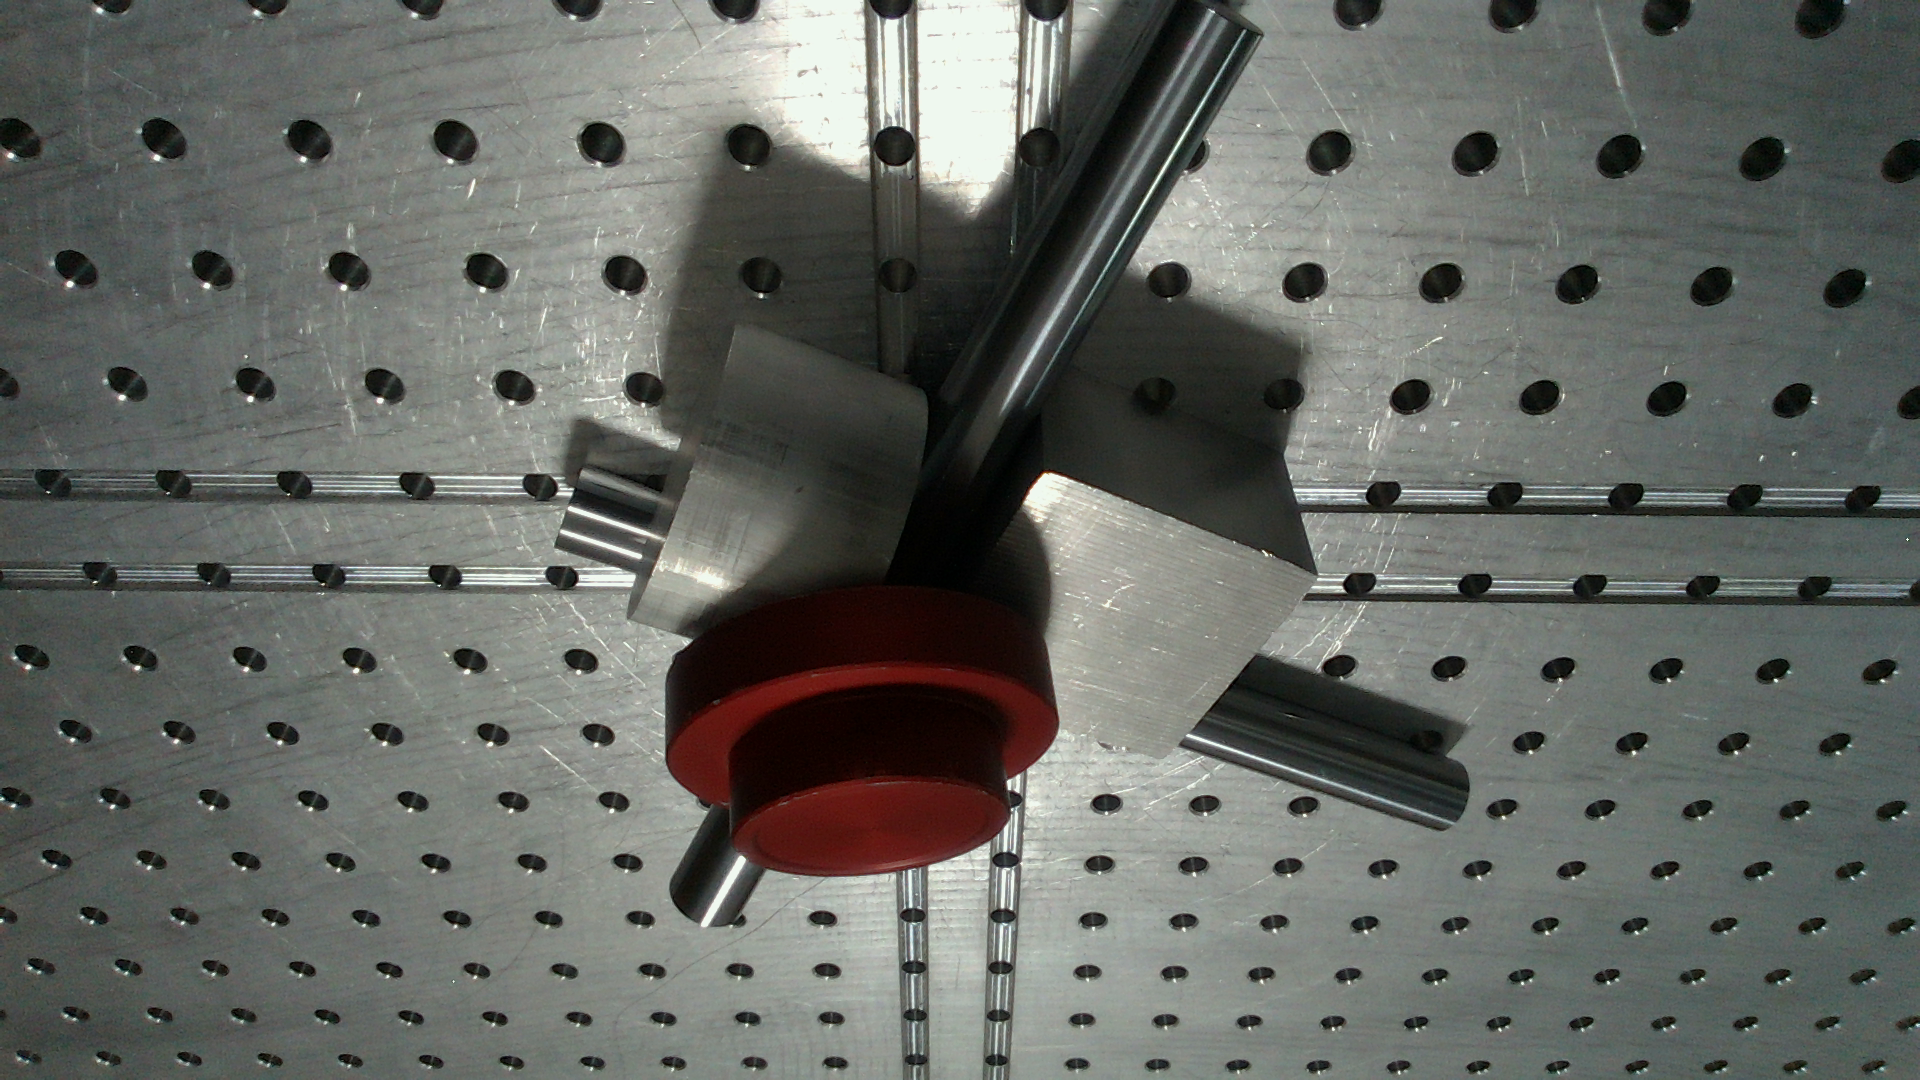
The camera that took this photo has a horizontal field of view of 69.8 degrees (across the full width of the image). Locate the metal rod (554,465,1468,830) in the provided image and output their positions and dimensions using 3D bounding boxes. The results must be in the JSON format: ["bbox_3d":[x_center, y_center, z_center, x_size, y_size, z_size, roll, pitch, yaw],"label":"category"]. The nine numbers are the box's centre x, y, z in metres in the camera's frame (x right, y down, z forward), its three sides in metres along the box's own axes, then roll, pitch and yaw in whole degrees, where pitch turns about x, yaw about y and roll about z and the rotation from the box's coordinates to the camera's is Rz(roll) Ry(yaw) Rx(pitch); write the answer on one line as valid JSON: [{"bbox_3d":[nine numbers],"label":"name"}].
[{"bbox_3d":[0.027,0.038,0.425,0.301,0.025,0.025,19,128,-16],"label":"metal rod"}]

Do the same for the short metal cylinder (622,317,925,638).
[{"bbox_3d":[-0.048,-0.010,0.348,0.050,0.080,0.080,19,127,-16],"label":"short metal cylinder"}]

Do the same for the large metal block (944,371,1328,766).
[{"bbox_3d":[0.040,0.008,0.380,0.080,0.050,0.080,20,127,-16],"label":"large metal block"}]

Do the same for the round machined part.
[{"bbox_3d":[-0.023,0.054,0.342,0.098,0.042,0.098,-6,150,-3],"label":"round machined part"}]

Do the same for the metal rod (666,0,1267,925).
[{"bbox_3d":[-0.013,-0.001,0.367,0.025,0.025,0.299,22,119,-17],"label":"metal rod"}]
